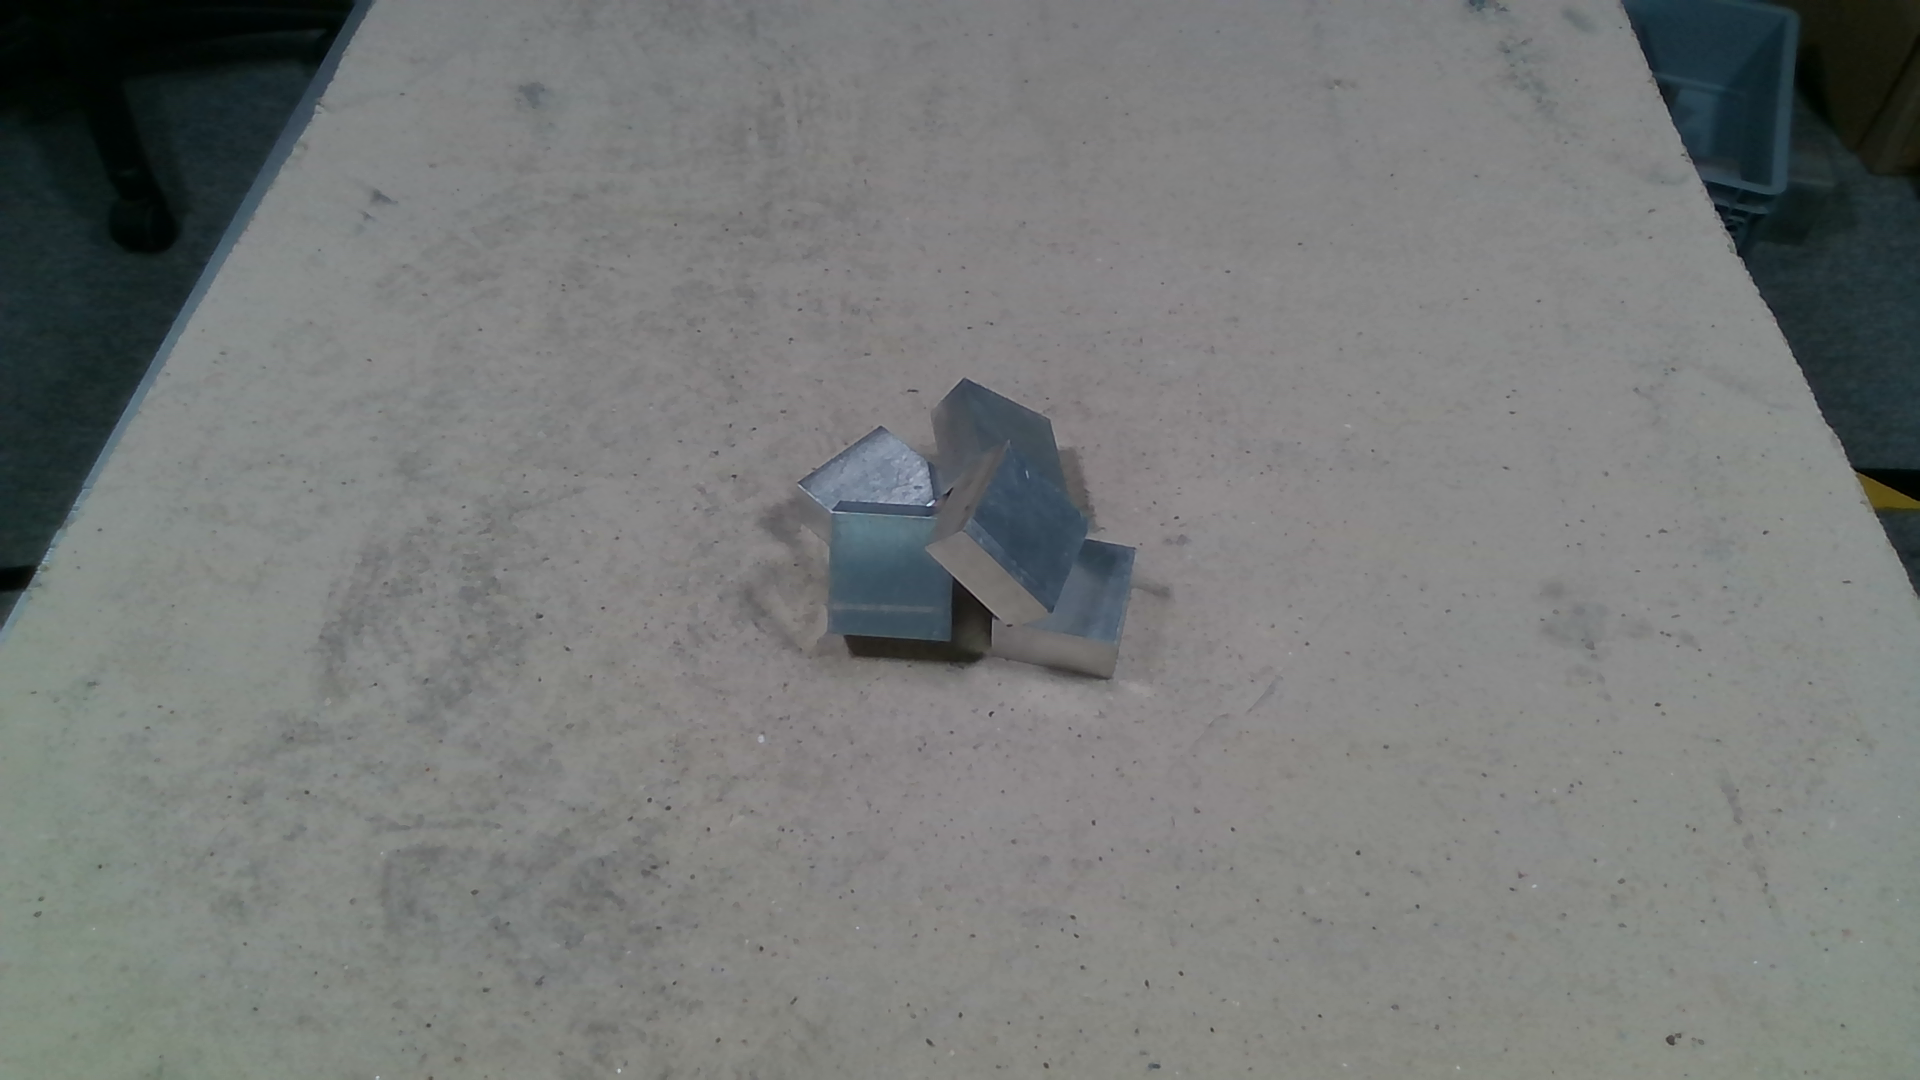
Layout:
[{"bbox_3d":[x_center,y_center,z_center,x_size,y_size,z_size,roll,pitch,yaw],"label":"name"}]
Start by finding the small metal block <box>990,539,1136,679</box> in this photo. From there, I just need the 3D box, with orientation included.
[{"bbox_3d":[0.043,0.025,0.566,0.050,0.025,0.050,11,51,9],"label":"small metal block"}]

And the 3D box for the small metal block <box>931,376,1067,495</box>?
[{"bbox_3d":[0.017,-0.037,0.602,0.050,0.025,0.050,21,41,-33],"label":"small metal block"}]

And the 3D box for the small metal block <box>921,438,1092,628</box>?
[{"bbox_3d":[0.019,-0.002,0.539,0.050,0.025,0.050,43,50,-21],"label":"small metal block"}]

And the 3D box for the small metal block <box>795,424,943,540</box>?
[{"bbox_3d":[-0.036,-0.017,0.601,0.050,0.025,0.050,37,59,27],"label":"small metal block"}]

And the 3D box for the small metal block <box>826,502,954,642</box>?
[{"bbox_3d":[-0.027,0.012,0.558,0.050,0.050,0.025,4,12,3],"label":"small metal block"}]

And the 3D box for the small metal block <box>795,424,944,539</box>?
[{"bbox_3d":[-0.036,-0.017,0.602,0.050,0.025,0.050,38,59,27],"label":"small metal block"}]
